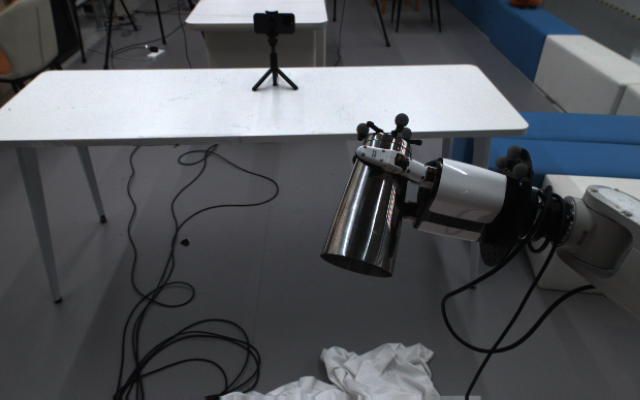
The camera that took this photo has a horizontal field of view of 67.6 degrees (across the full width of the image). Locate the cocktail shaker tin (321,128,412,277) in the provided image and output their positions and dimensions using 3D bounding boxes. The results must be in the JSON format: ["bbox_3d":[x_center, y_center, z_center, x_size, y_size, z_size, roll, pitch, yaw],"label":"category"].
[{"bbox_3d":[0.069,0.002,0.622,0.093,0.093,0.170,12,72,14],"label":"cocktail shaker tin"}]
